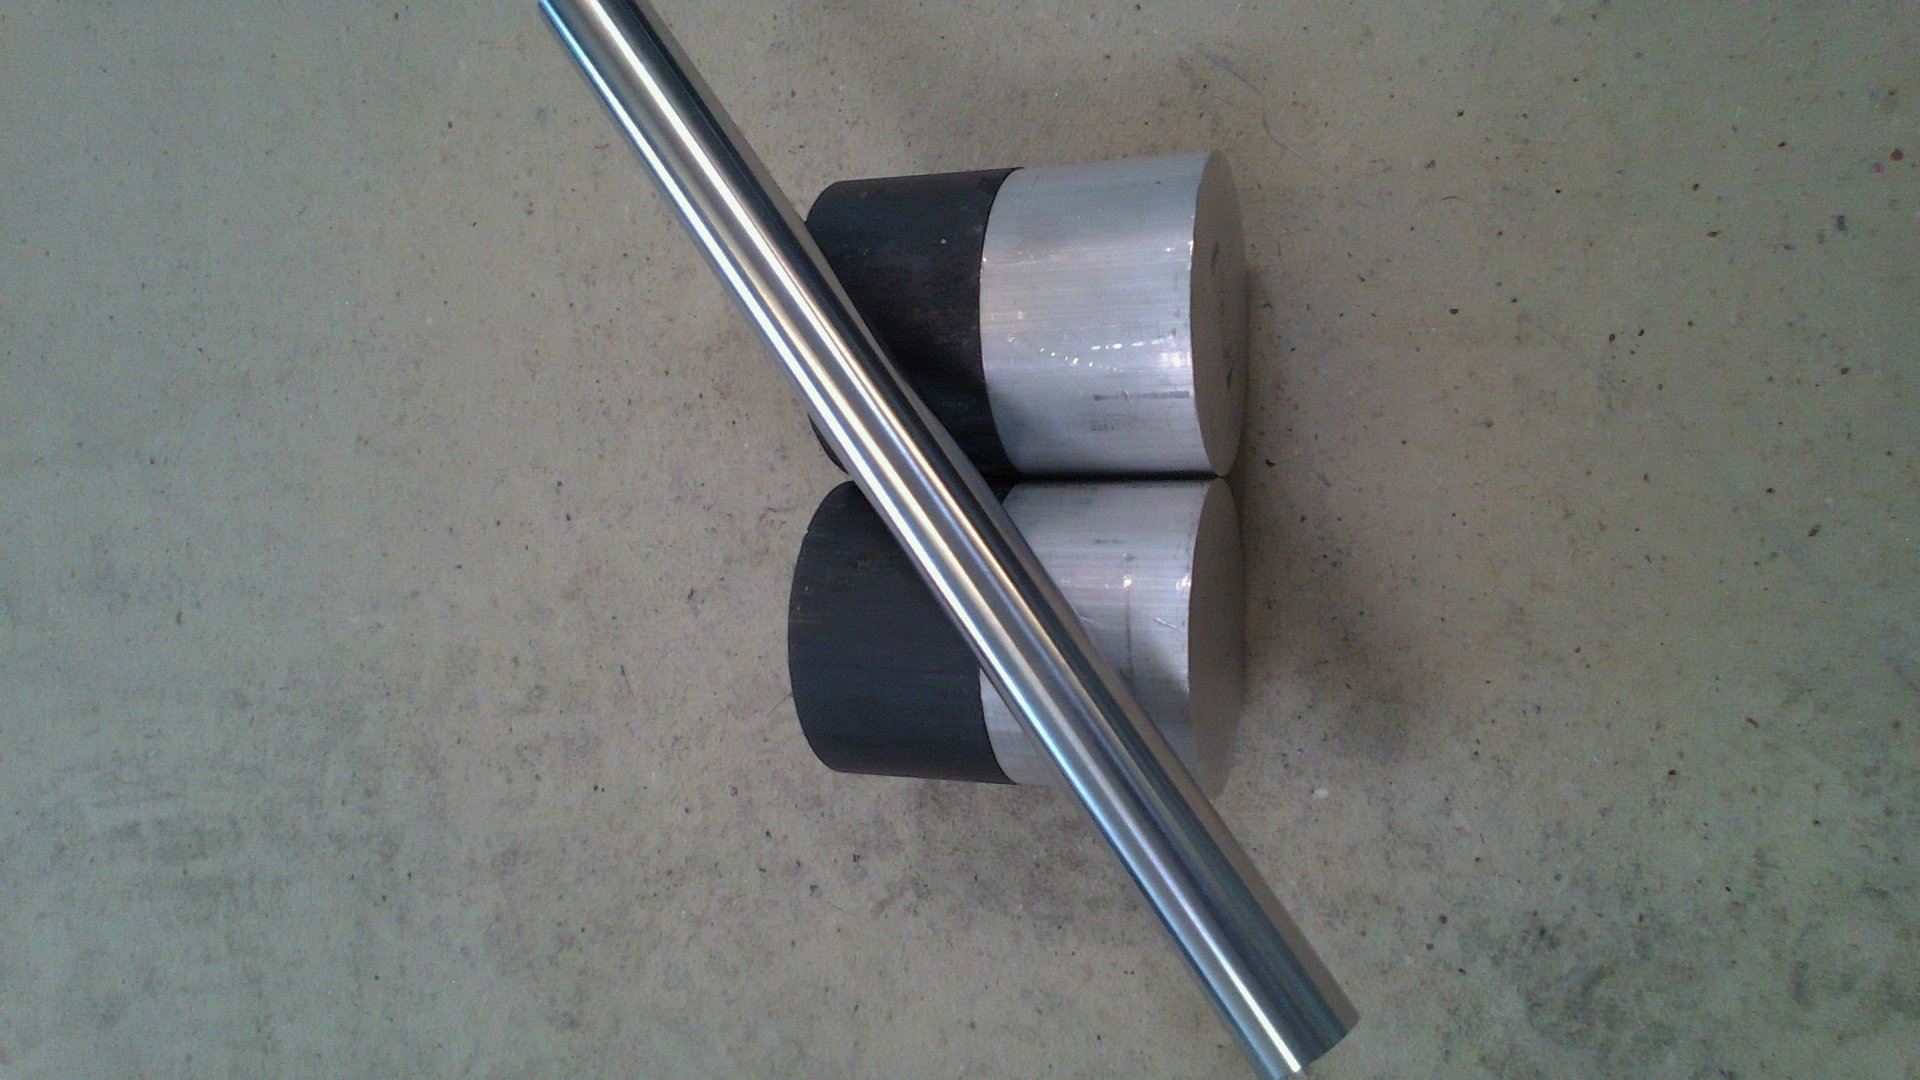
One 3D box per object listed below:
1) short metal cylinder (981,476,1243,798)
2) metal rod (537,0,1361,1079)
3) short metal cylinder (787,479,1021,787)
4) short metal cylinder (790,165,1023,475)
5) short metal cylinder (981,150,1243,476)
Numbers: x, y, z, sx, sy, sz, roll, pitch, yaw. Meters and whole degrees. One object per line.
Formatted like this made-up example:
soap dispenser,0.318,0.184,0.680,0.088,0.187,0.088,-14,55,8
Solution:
short metal cylinder,0.042,0.024,0.352,0.050,0.080,0.080,1,90,20
metal rod,-0.011,-0.016,0.315,0.025,0.025,0.300,-38,78,16
short metal cylinder,-0.006,0.024,0.369,0.050,0.080,0.080,1,90,20
short metal cylinder,-0.005,-0.057,0.368,0.050,0.080,0.080,1,90,20
short metal cylinder,0.042,-0.056,0.352,0.050,0.080,0.080,1,90,20
